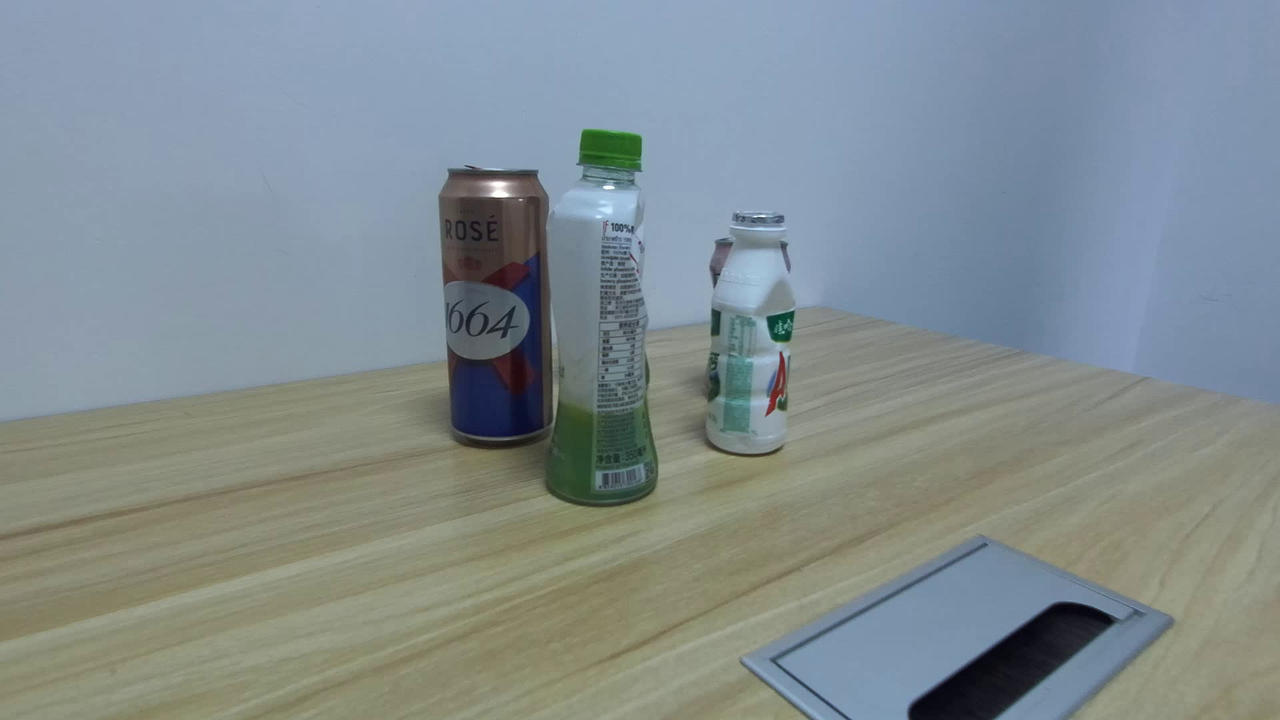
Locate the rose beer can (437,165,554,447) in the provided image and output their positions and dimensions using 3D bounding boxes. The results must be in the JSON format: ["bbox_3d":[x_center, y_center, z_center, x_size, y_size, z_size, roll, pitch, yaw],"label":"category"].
[{"bbox_3d":[-0.090,-0.034,0.451,0.068,0.169,0.068,1,16,0],"label":"rose beer can"}]

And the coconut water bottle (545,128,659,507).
[{"bbox_3d":[-0.020,-0.023,0.373,0.069,0.187,0.069,1,12,0],"label":"coconut water bottle"}]
